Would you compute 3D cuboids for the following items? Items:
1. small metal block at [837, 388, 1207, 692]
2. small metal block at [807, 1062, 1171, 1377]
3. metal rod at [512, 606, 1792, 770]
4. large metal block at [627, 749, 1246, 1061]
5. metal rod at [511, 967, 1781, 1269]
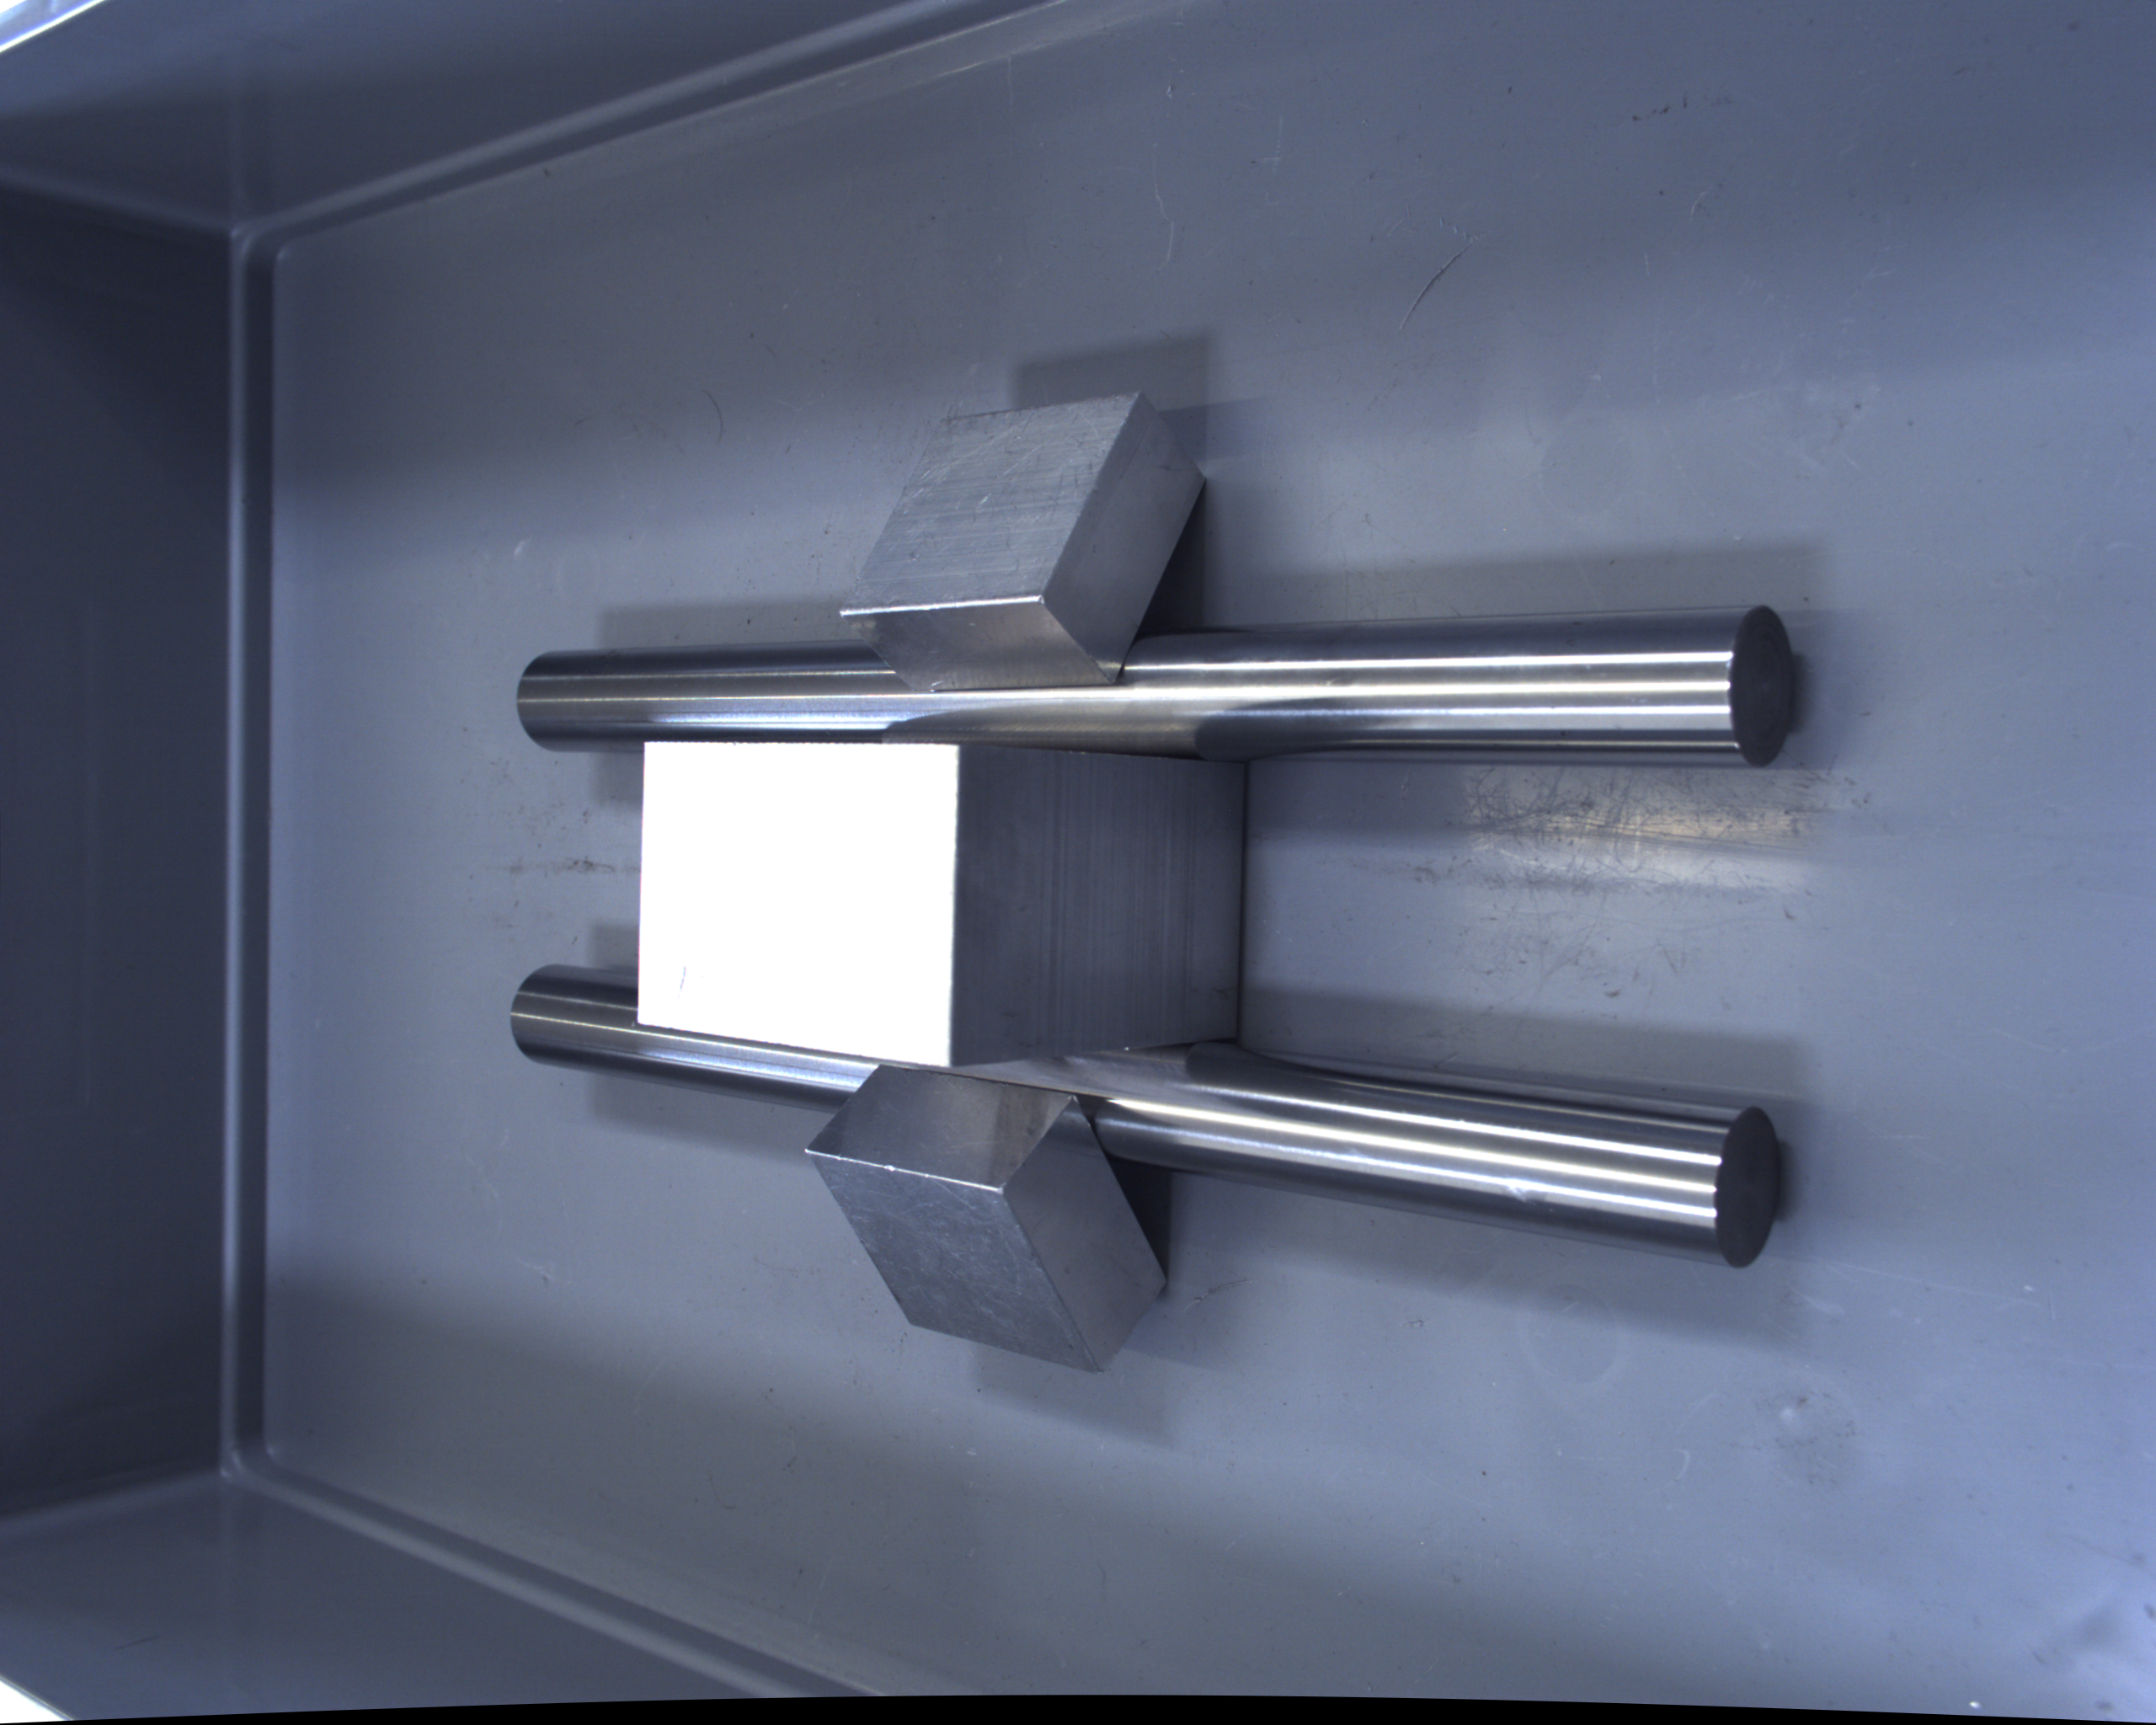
[{"bbox_3d":[-0.010,-0.061,0.398,0.050,0.025,0.050,2,57,39],"label":"small metal block"},{"bbox_3d":[-0.017,0.068,0.403,0.050,0.025,0.050,4,130,39],"label":"small metal block"},{"bbox_3d":[-0.012,-0.033,0.413,0.300,0.025,0.025,3,92,39],"label":"metal rod"},{"bbox_3d":[-0.026,0.005,0.389,0.080,0.081,0.050,3,92,40],"label":"large metal block"},{"bbox_3d":[-0.013,0.044,0.415,0.300,0.025,0.025,3,92,39],"label":"metal rod"}]
